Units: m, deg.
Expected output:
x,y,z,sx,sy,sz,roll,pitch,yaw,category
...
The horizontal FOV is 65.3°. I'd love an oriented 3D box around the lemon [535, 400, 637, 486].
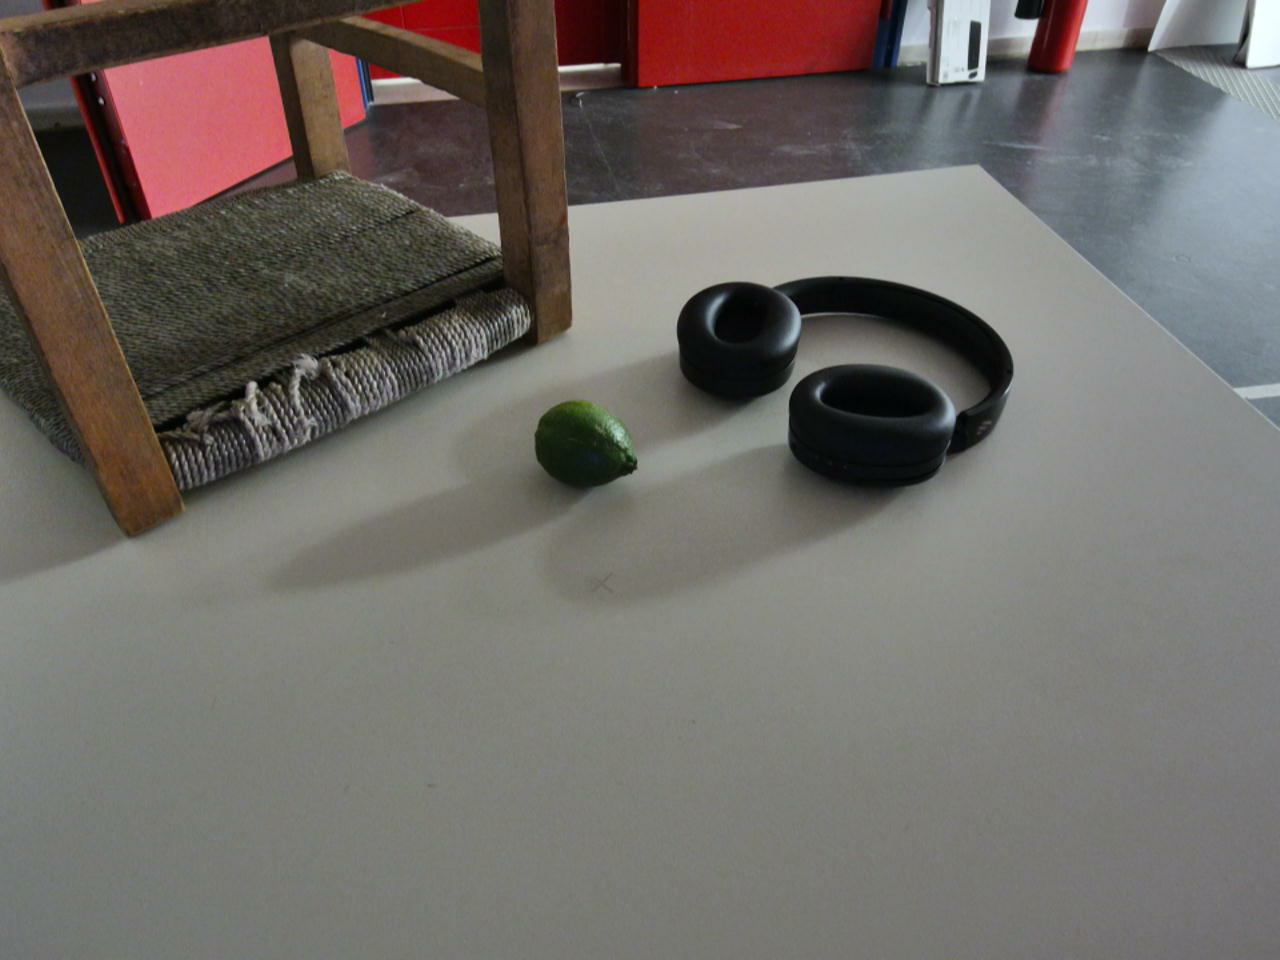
x,y,z,sx,sy,sz,roll,pitch,yaw,category
-0.034,-0.023,0.597,0.057,0.051,0.054,-11,40,-13,lemon
